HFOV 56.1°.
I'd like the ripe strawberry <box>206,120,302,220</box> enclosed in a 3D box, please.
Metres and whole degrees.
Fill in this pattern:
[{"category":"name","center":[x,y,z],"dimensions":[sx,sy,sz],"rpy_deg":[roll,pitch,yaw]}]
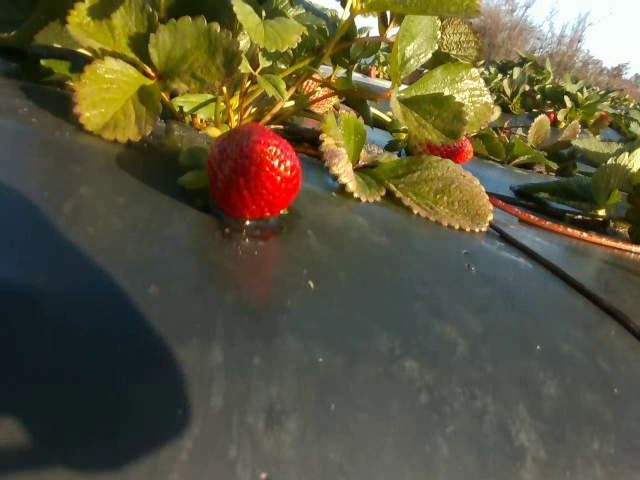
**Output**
[{"category":"ripe strawberry","center":[-0.016,-0.018,0.146],"dimensions":[0.028,0.031,0.041],"rpy_deg":[-13,-3,-18]}]
